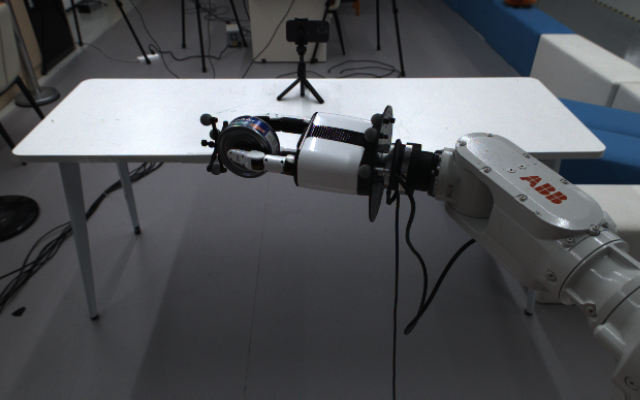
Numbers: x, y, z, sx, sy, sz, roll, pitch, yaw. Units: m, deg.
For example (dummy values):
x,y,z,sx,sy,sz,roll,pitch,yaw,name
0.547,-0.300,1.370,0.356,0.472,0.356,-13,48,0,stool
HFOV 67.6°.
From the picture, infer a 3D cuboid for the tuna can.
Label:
x,y,z,sx,sy,sz,roll,pitch,yaw,name
-0.102,-0.076,0.694,0.085,0.085,0.034,9,34,10,tuna can
